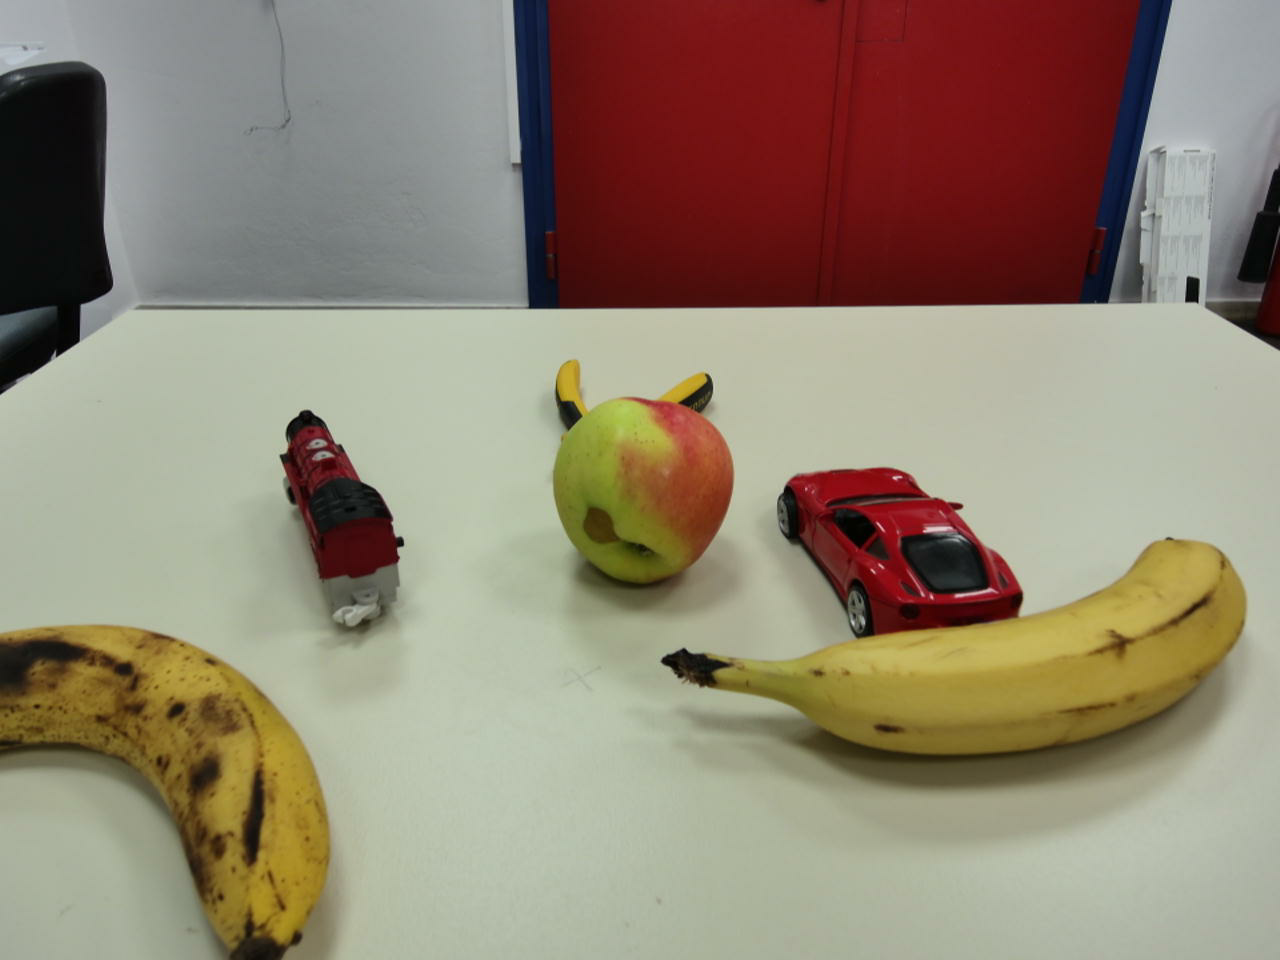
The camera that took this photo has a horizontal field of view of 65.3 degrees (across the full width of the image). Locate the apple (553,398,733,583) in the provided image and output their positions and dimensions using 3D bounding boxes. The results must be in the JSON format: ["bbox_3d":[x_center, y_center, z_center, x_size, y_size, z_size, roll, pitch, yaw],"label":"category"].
[{"bbox_3d":[0.002,0.003,0.411,0.075,0.074,0.075,-8,25,-18],"label":"apple"}]
